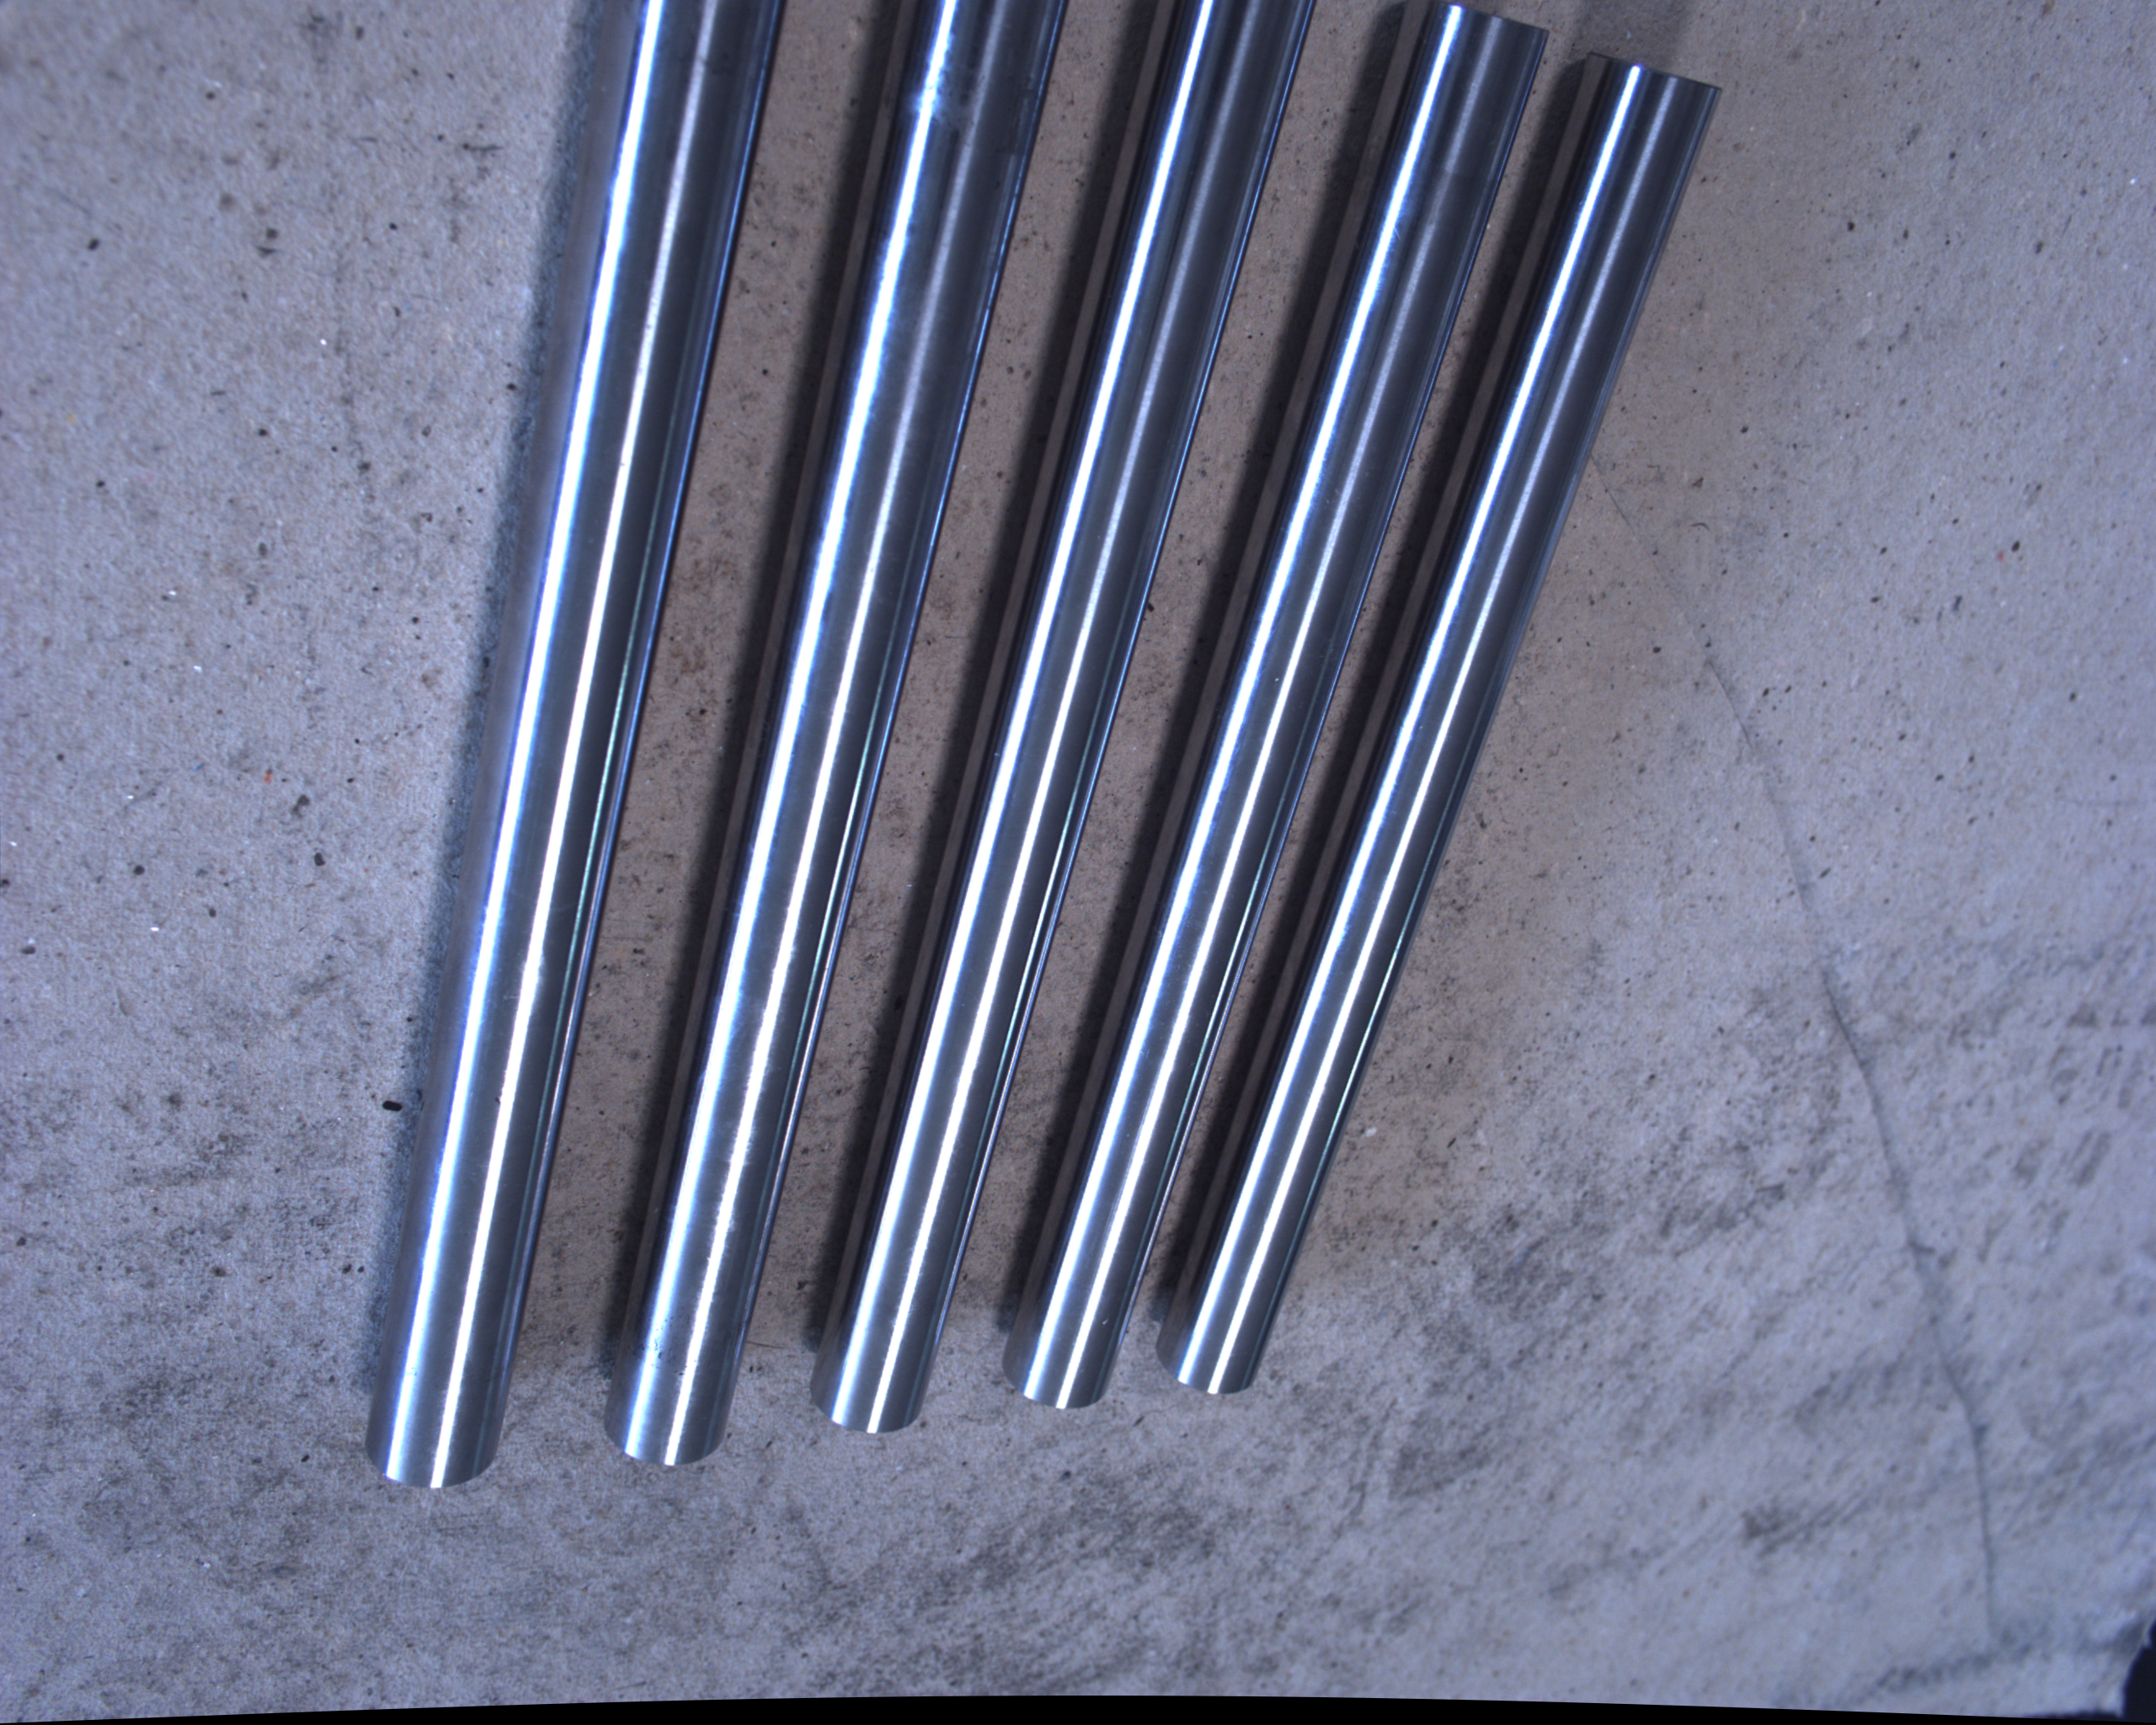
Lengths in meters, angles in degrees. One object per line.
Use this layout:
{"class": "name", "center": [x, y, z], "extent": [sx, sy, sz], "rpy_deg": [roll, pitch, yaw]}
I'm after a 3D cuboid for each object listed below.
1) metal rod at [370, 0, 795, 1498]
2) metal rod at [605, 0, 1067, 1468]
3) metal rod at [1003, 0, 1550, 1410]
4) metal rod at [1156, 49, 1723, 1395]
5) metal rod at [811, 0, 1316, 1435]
{"class": "metal rod", "center": [-0.086, -0.015, 0.350], "extent": [0.025, 0.025, 0.298], "rpy_deg": [2, 117, -30]}
{"class": "metal rod", "center": [-0.048, -0.014, 0.373], "extent": [0.025, 0.025, 0.298], "rpy_deg": [2, 118, -29]}
{"class": "metal rod", "center": [0.032, -0.014, 0.416], "extent": [0.025, 0.025, 0.298], "rpy_deg": [1, 118, -29]}
{"class": "metal rod", "center": [0.067, -0.012, 0.437], "extent": [0.025, 0.025, 0.298], "rpy_deg": [1, 118, -29]}
{"class": "metal rod", "center": [-0.009, -0.015, 0.394], "extent": [0.025, 0.025, 0.298], "rpy_deg": [1, 118, -29]}
